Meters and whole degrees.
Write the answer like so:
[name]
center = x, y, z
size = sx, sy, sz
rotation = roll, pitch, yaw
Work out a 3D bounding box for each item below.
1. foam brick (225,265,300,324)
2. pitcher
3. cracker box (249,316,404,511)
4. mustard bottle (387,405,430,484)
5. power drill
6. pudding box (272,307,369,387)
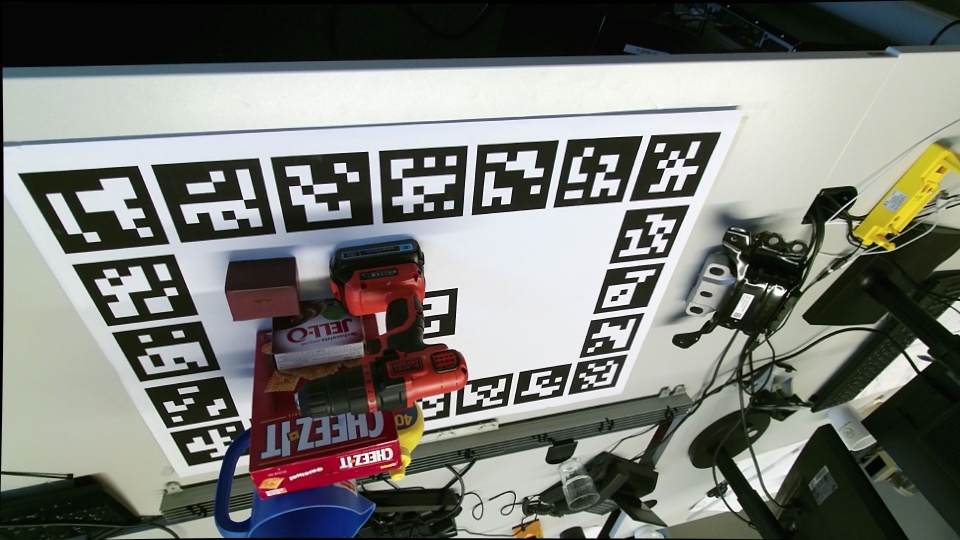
[foam brick]
center = -0.264, 0.032, 0.654
size = 0.078, 0.051, 0.053
rotation = -6, 128, -16
[pitcher]
center = -0.249, 0.254, 0.724
size = 0.189, 0.241, 0.133
rotation = -4, 129, -20
[cracker box]
center = -0.199, 0.166, 0.674
size = 0.165, 0.212, 0.072
rotation = -11, 133, -15
[mustard bottle]
center = -0.124, 0.230, 0.765
size = 0.096, 0.190, 0.058
rotation = 3, 126, -23
[power drill]
center = -0.121, 0.082, 0.611
size = 0.185, 0.186, 0.057
rotation = -8, 134, -13
[pudding box]
center = -0.204, 0.095, 0.685
size = 0.114, 0.089, 0.038
rotation = -9, 132, -17
